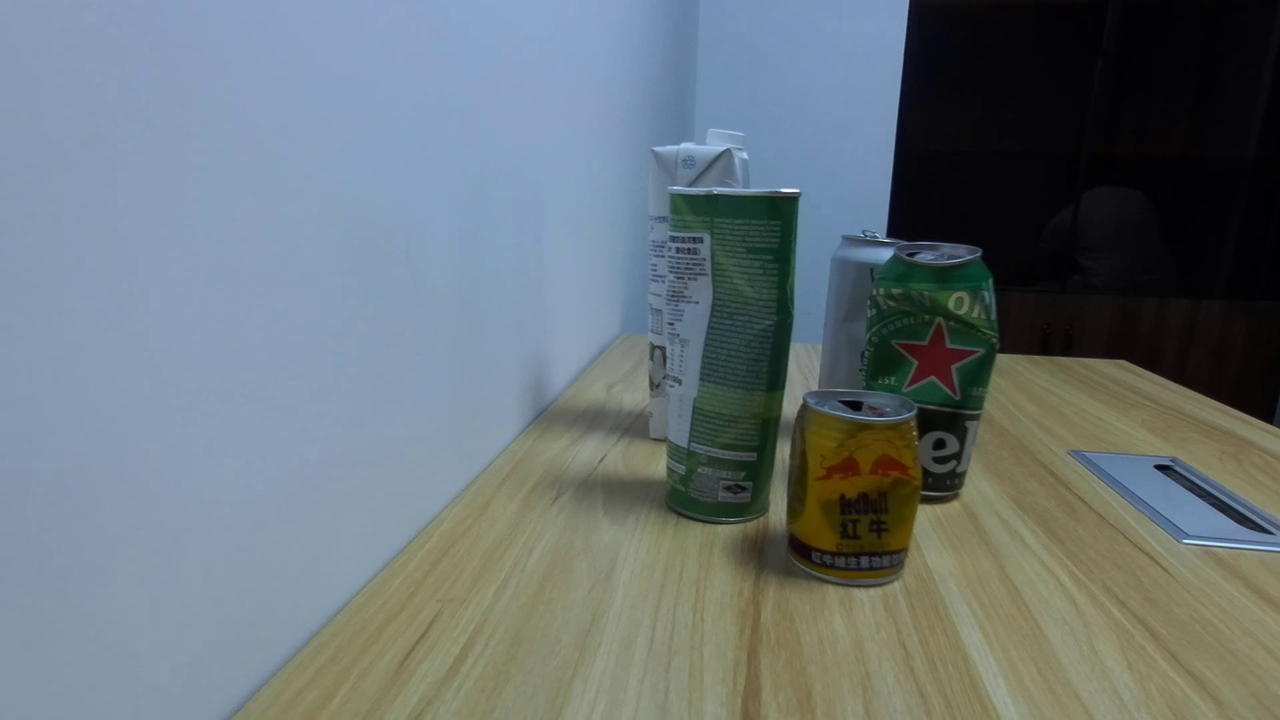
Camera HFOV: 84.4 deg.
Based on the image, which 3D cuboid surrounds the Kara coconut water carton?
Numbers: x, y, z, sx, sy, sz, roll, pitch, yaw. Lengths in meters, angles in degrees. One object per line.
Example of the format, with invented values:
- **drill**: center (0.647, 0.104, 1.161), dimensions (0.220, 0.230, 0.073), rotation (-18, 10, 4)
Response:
- **Kara coconut water carton**: center (0.044, -0.050, 0.540), dimensions (0.075, 0.244, 0.077), rotation (-1, -6, 9)

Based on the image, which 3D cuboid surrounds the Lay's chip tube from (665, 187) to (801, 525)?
- **Lay's chip tube**: center (0.051, -0.003, 0.437), dimensions (0.075, 0.199, 0.069), rotation (1, 13, -1)

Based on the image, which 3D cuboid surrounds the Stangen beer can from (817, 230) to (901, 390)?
- **Stangen beer can**: center (0.186, -0.018, 0.575), dimensions (0.069, 0.173, 0.070), rotation (17, 27, 38)

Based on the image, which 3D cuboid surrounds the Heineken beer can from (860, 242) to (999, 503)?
- **Heineken beer can**: center (0.192, 0.009, 0.477), dimensions (0.069, 0.168, 0.068), rotation (-6, 17, -19)

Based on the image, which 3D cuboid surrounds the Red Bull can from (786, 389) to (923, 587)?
- **Red Bull can**: center (0.115, 0.065, 0.384), dimensions (0.072, 0.092, 0.072), rotation (0, 14, 0)
